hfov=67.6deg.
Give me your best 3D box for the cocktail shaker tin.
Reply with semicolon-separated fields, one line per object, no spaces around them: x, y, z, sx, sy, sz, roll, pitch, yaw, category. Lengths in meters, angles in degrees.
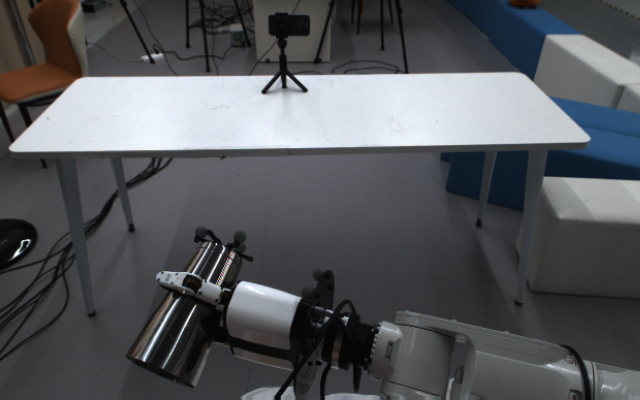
-0.166;0.143;0.629;0.093;0.093;0.170;13;58;15;cocktail shaker tin
